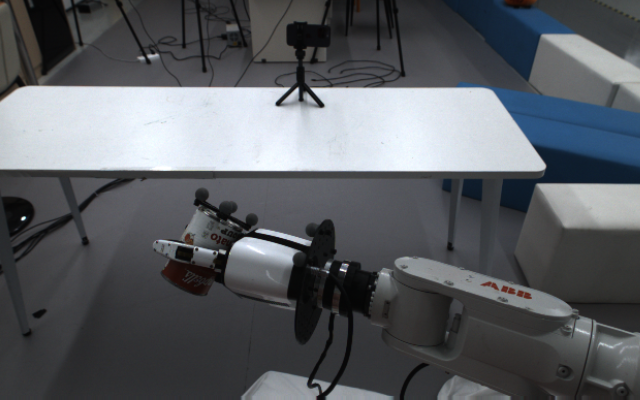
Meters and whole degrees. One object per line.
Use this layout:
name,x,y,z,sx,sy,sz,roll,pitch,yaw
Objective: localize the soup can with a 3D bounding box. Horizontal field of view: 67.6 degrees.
soup can,-0.155,0.068,0.641,0.067,0.101,0.067,29,-2,1
